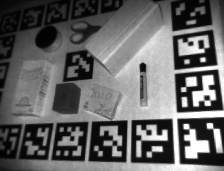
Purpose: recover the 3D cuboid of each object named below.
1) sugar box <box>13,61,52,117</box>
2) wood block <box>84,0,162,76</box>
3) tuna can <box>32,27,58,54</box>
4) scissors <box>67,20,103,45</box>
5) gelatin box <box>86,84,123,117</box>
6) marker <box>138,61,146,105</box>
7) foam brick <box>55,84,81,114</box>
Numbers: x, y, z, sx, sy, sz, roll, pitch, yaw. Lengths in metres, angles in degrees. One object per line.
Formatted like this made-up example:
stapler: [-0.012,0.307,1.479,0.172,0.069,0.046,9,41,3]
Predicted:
sugar box: [-0.253,0.010,0.692,0.092,0.046,0.176,-2,72,20]
wood block: [0.035,-0.141,0.607,0.089,0.092,0.206,40,89,28]
tuna can: [-0.227,-0.153,0.737,0.085,0.034,0.085,-6,72,20]
scissors: [-0.061,-0.177,0.695,0.200,0.016,0.087,0,73,23]
gelatin box: [-0.022,0.041,0.600,0.088,0.030,0.073,13,79,25]
marker: [0.081,-0.008,0.581,0.019,0.020,0.121,-5,73,20]
foam brick: [-0.124,0.040,0.623,0.052,0.052,0.078,-5,72,21]
